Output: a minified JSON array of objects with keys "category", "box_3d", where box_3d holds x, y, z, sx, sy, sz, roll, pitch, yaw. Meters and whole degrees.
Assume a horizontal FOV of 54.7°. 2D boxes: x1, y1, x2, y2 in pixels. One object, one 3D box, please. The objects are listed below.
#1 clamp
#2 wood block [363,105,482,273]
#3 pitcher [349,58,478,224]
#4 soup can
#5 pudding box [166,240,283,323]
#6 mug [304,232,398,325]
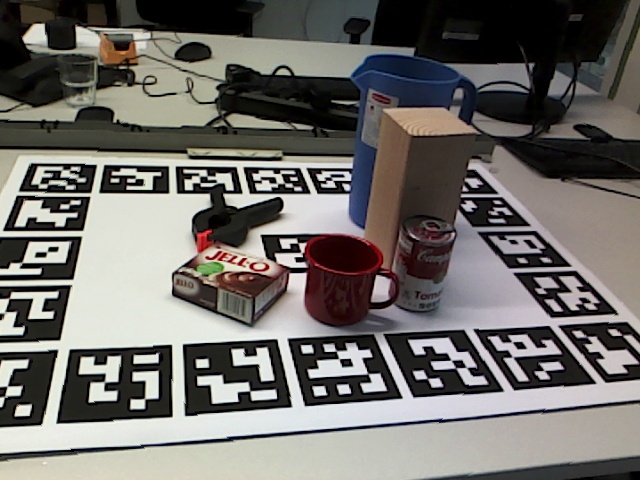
[{"category":"clamp","box_3d":[-0.126,-0.030,0.896,0.122,0.036,0.165,20,33,9]},{"category":"wood block","box_3d":[0.127,-0.062,0.813,0.089,0.206,0.091,1,30,-17]},{"category":"pitcher","box_3d":[0.130,-0.138,0.913,0.188,0.242,0.134,-3,29,-11]},{"category":"soup can","box_3d":[0.122,0.029,0.760,0.068,0.102,0.068,5,33,-3]},{"category":"pudding box","box_3d":[-0.115,0.048,0.753,0.114,0.038,0.090,18,35,21]},{"category":"mug","box_3d":[0.034,0.050,0.730,0.118,0.081,0.093,17,29,20]}]
